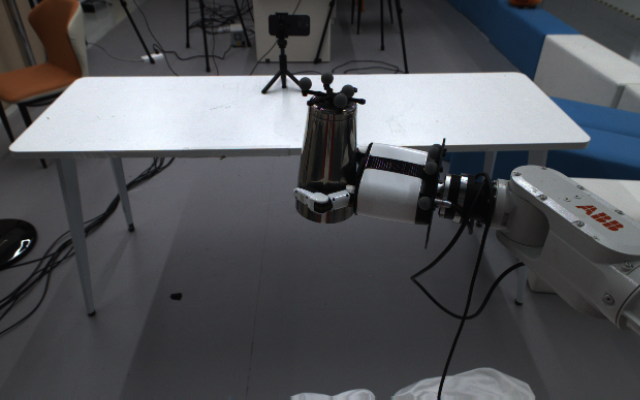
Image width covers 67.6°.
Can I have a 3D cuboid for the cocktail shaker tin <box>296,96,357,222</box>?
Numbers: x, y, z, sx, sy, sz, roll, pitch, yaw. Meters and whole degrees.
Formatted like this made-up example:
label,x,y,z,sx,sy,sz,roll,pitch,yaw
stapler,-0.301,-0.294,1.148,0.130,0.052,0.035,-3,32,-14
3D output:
label,x,y,z,sx,sy,sz,roll,pitch,yaw
cocktail shaker tin,0.013,-0.062,0.697,0.093,0.170,0.093,2,34,-2
